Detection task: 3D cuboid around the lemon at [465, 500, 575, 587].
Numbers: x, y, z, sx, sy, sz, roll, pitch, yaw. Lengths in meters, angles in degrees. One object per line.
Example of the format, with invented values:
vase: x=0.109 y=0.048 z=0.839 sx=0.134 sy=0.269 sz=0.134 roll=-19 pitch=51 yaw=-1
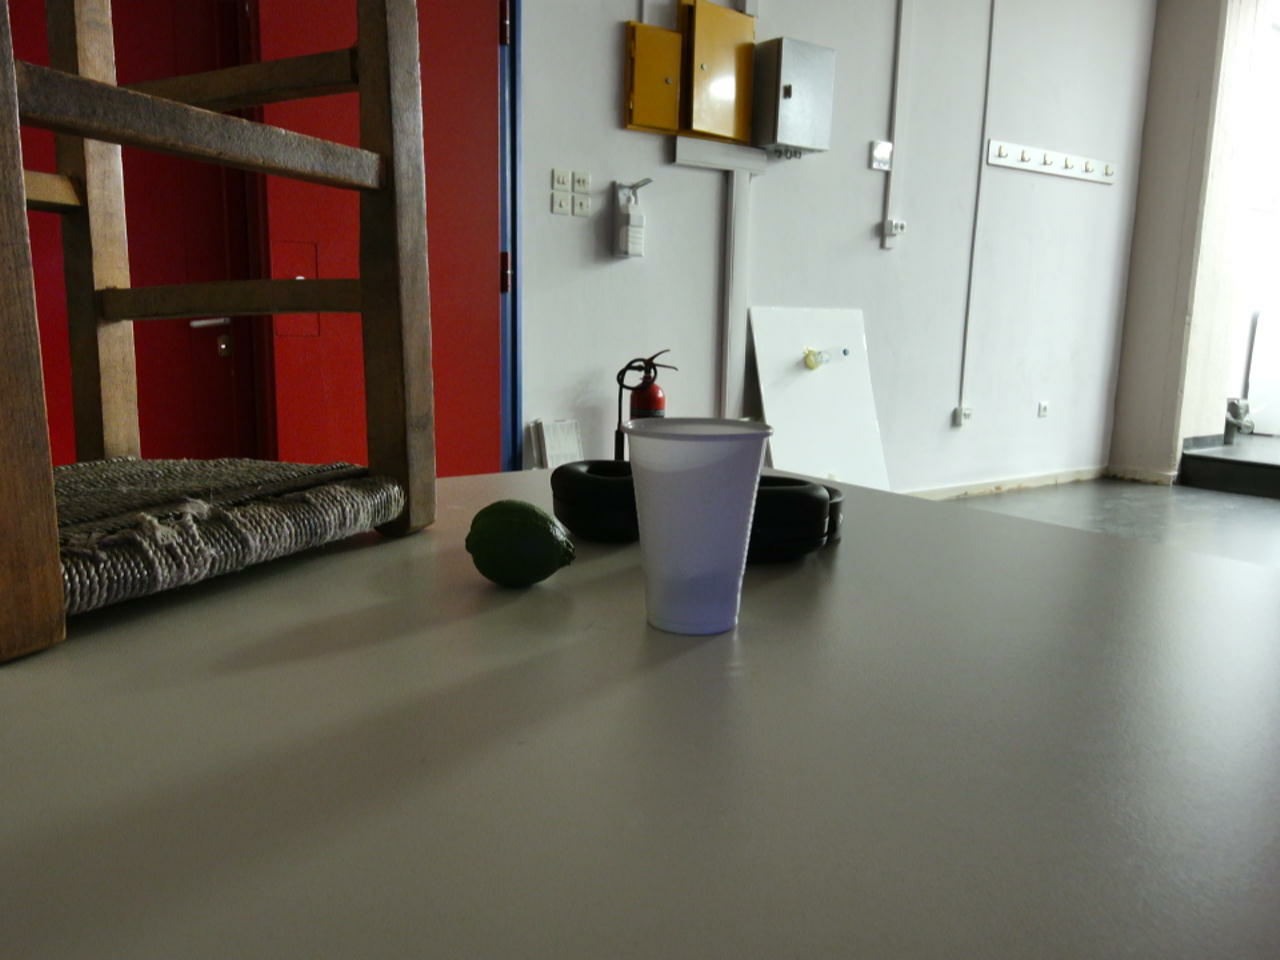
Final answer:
lemon: x=-0.073 y=0.037 z=0.590 sx=0.057 sy=0.051 sz=0.054 roll=-6 pitch=10 yaw=-39
